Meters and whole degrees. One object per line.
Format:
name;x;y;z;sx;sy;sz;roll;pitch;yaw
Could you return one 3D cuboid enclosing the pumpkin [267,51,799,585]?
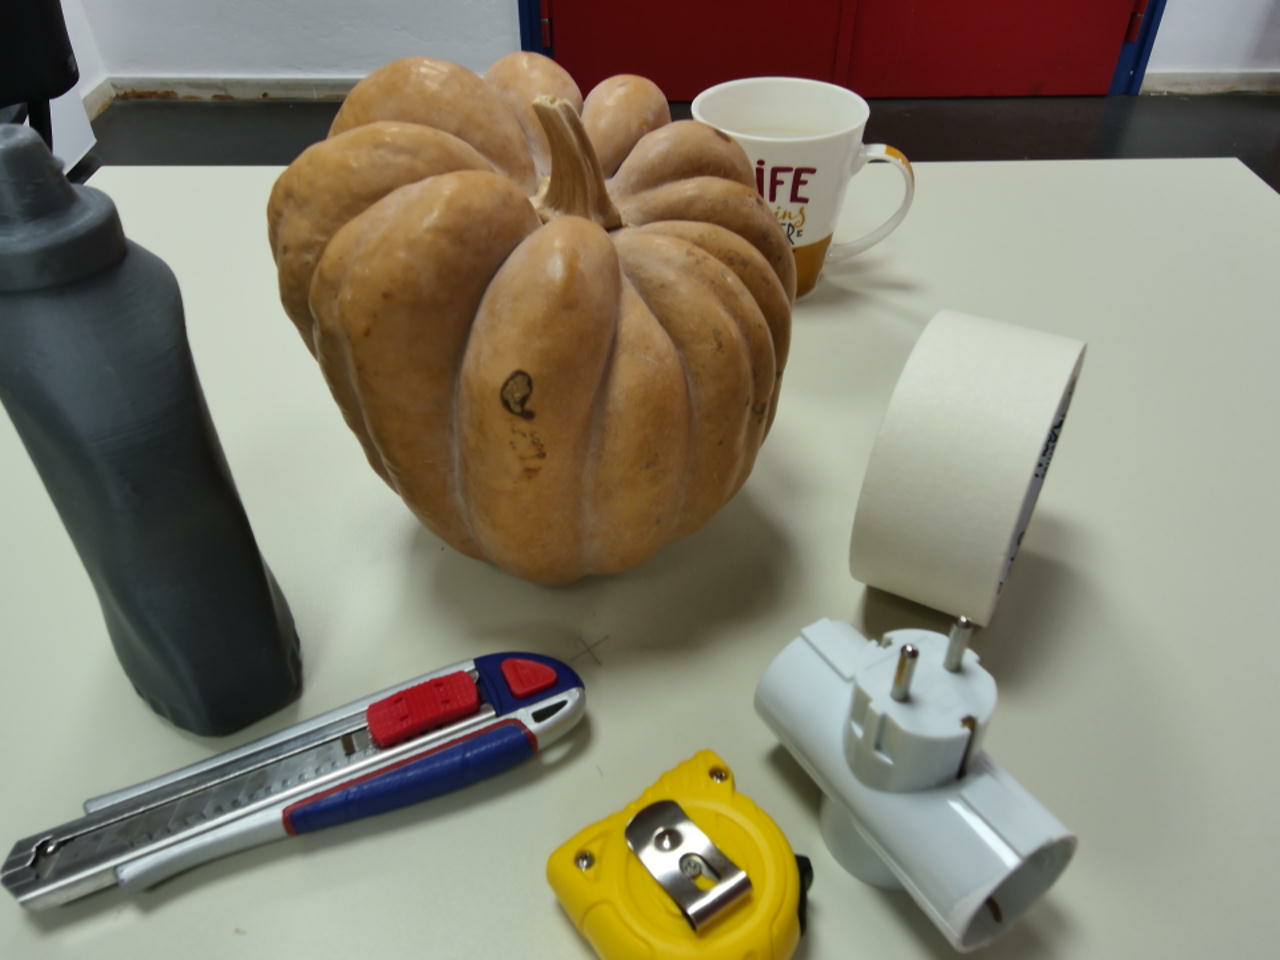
pumpkin;-0.035;-0.060;0.380;0.199;0.177;0.198;0;39;0
